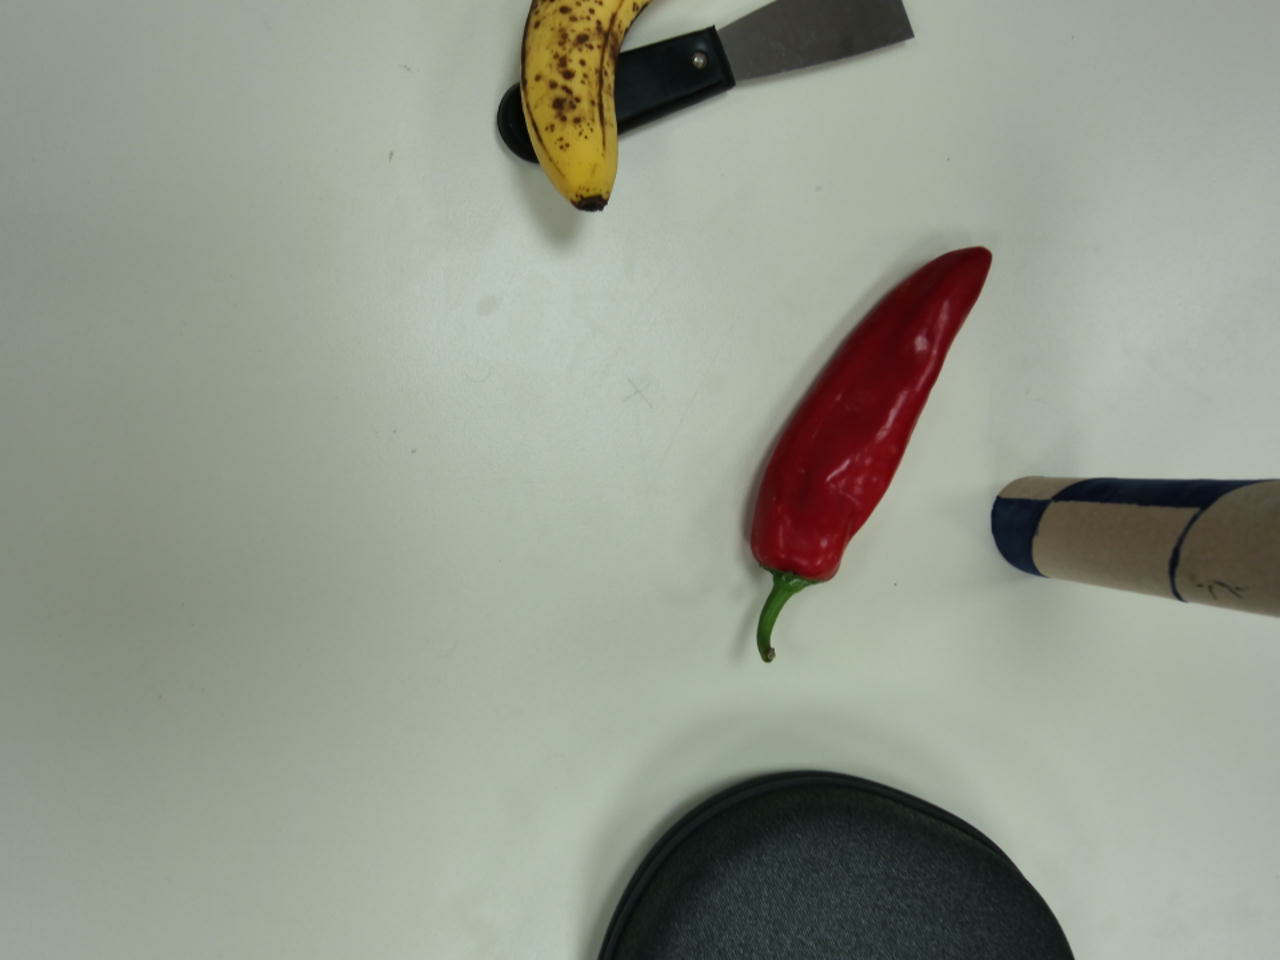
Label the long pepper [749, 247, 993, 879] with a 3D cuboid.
[{"bbox_3d":[0.094,-0.019,0.440,0.050,0.043,0.211,32,84,-10],"label":"long pepper"}]
